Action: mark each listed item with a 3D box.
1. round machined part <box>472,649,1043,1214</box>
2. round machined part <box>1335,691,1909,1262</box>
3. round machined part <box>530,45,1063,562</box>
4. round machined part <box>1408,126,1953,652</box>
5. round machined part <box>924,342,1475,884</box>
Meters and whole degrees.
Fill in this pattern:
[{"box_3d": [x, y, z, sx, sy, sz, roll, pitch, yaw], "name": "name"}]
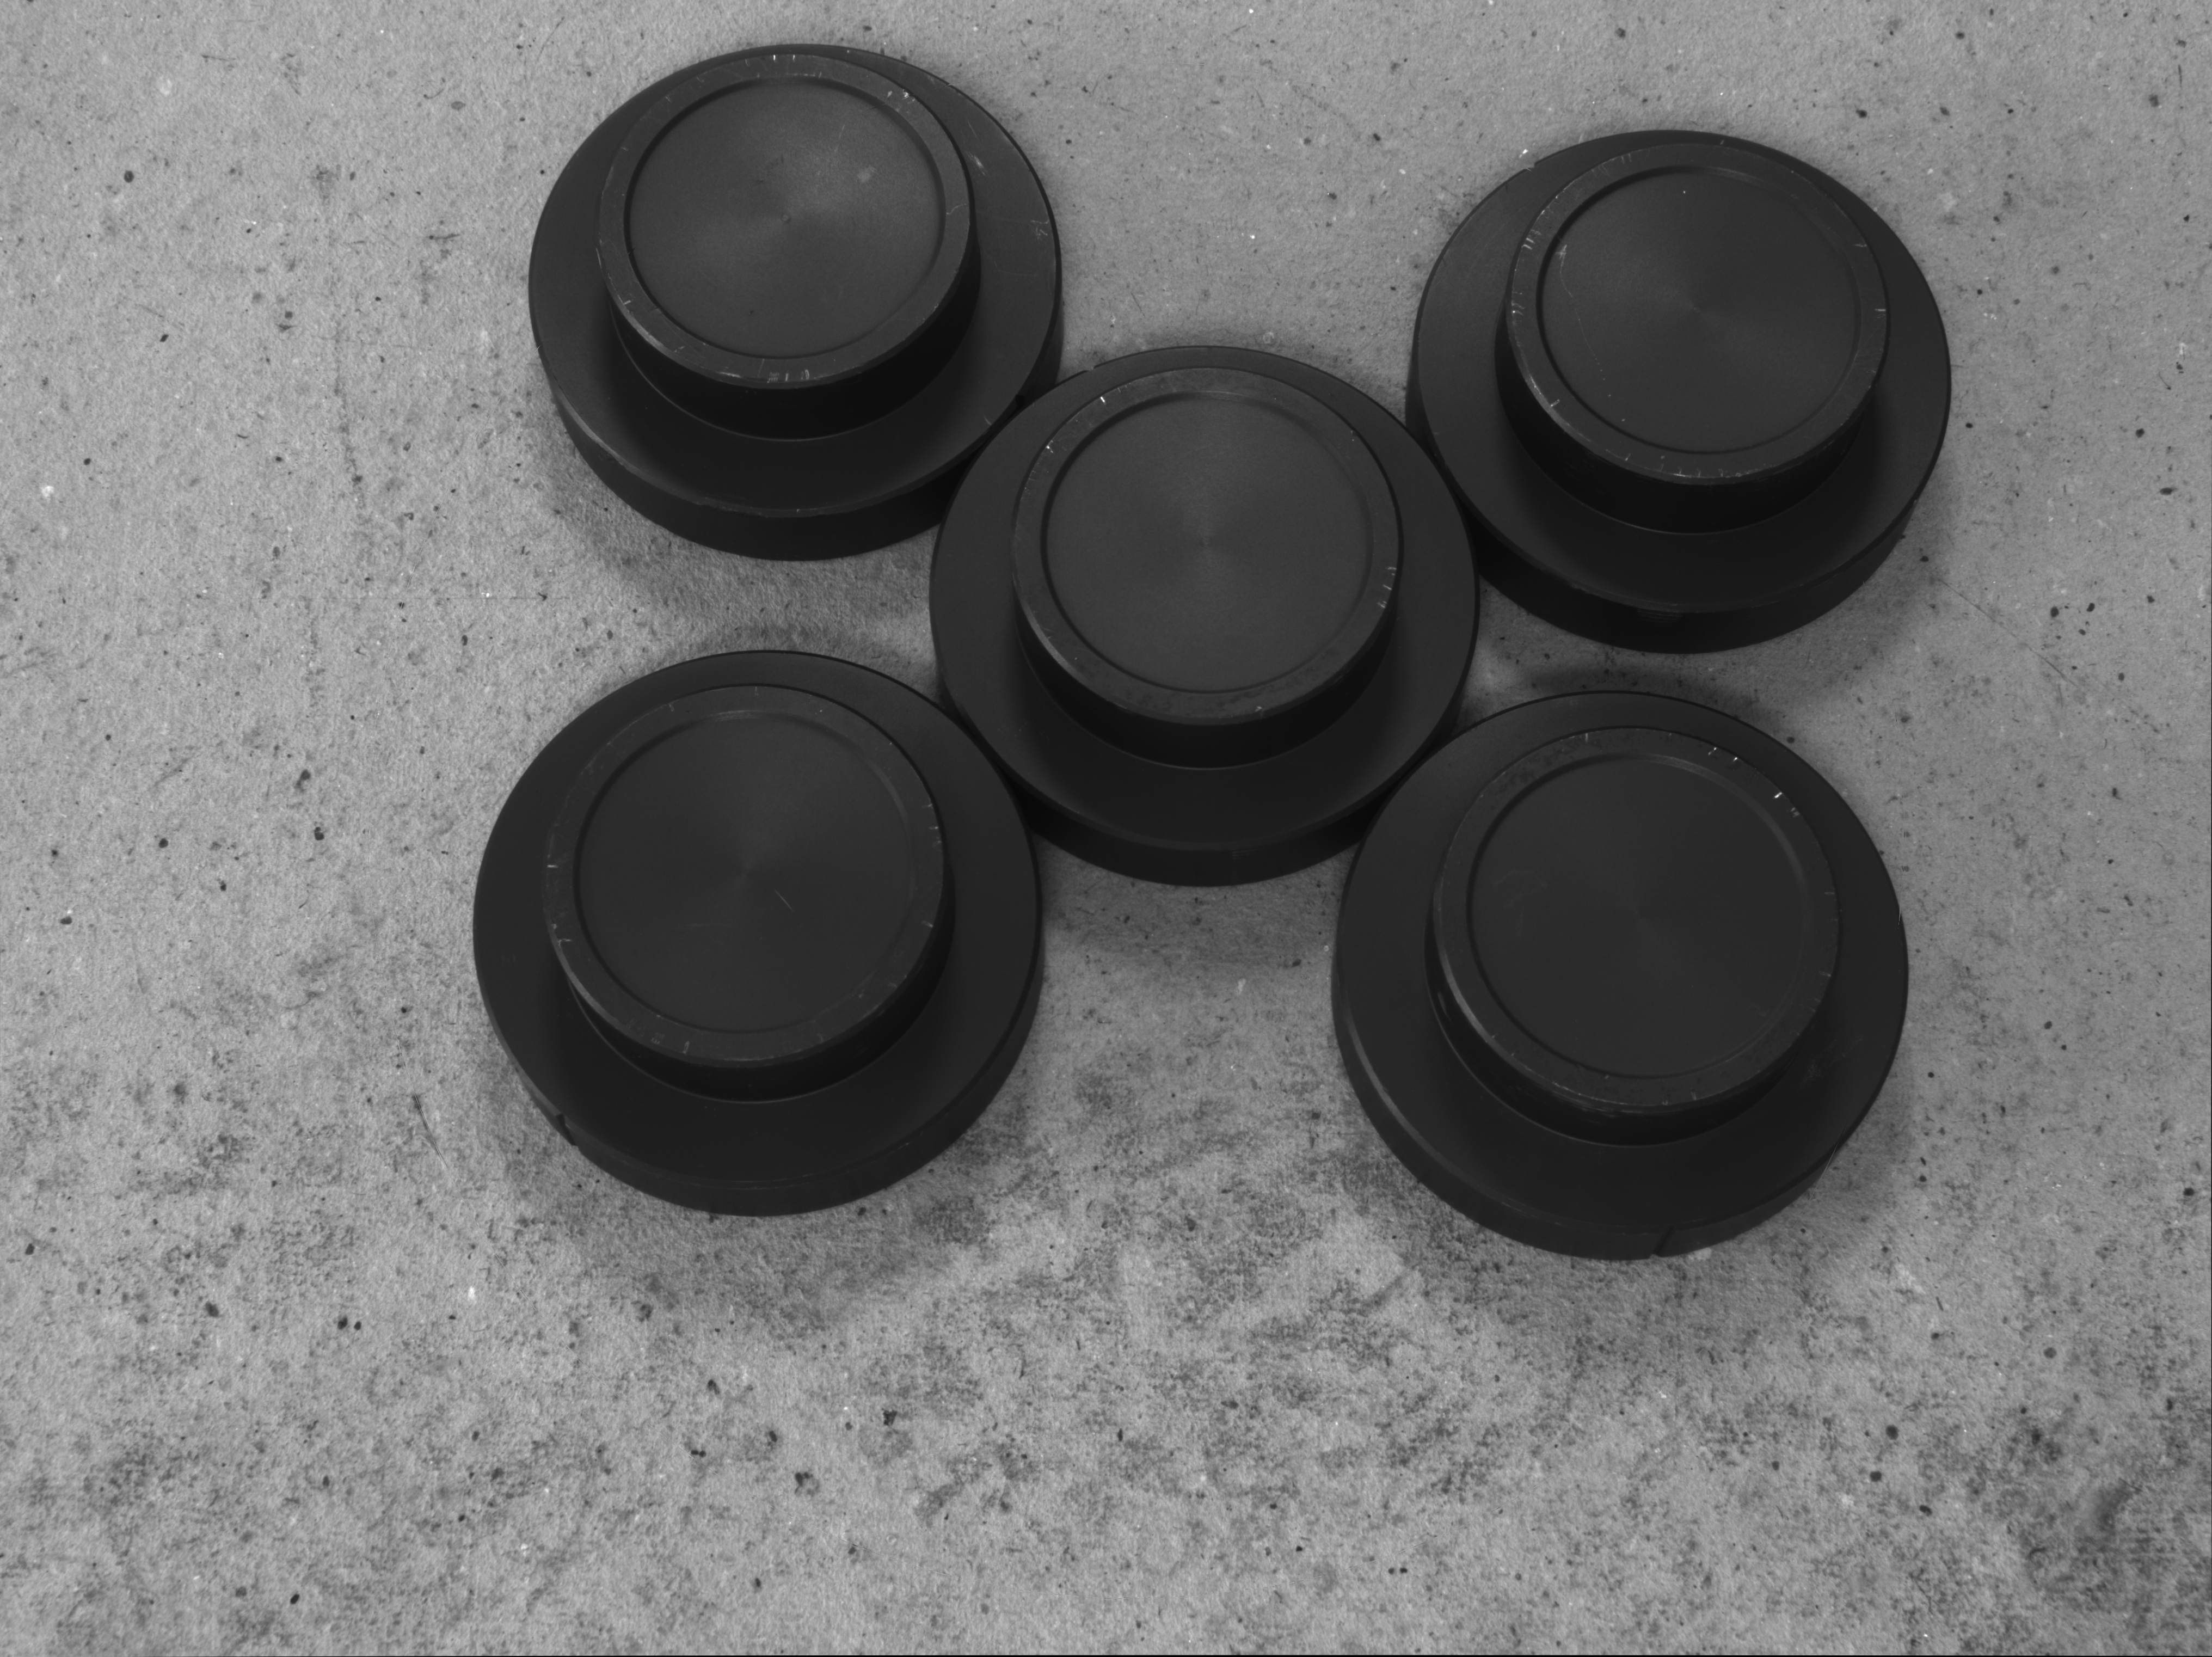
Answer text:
[{"box_3d": [-0.060, 0.014, 0.630, 0.098, 0.042, 0.098, 0, 71, 0], "name": "round machined part"}, {"box_3d": [0.089, 0.022, 0.628, 0.098, 0.042, 0.098, 0, 71, 1], "name": "round machined part"}, {"box_3d": [-0.057, -0.102, 0.673, 0.098, 0.042, 0.098, 0, 70, 0], "name": "round machined part"}, {"box_3d": [0.105, -0.085, 0.666, 0.098, 0.042, 0.098, 0, 71, 1], "name": "round machined part"}, {"box_3d": [0.017, -0.043, 0.651, 0.098, 0.042, 0.098, 0, 71, 1], "name": "round machined part"}]
